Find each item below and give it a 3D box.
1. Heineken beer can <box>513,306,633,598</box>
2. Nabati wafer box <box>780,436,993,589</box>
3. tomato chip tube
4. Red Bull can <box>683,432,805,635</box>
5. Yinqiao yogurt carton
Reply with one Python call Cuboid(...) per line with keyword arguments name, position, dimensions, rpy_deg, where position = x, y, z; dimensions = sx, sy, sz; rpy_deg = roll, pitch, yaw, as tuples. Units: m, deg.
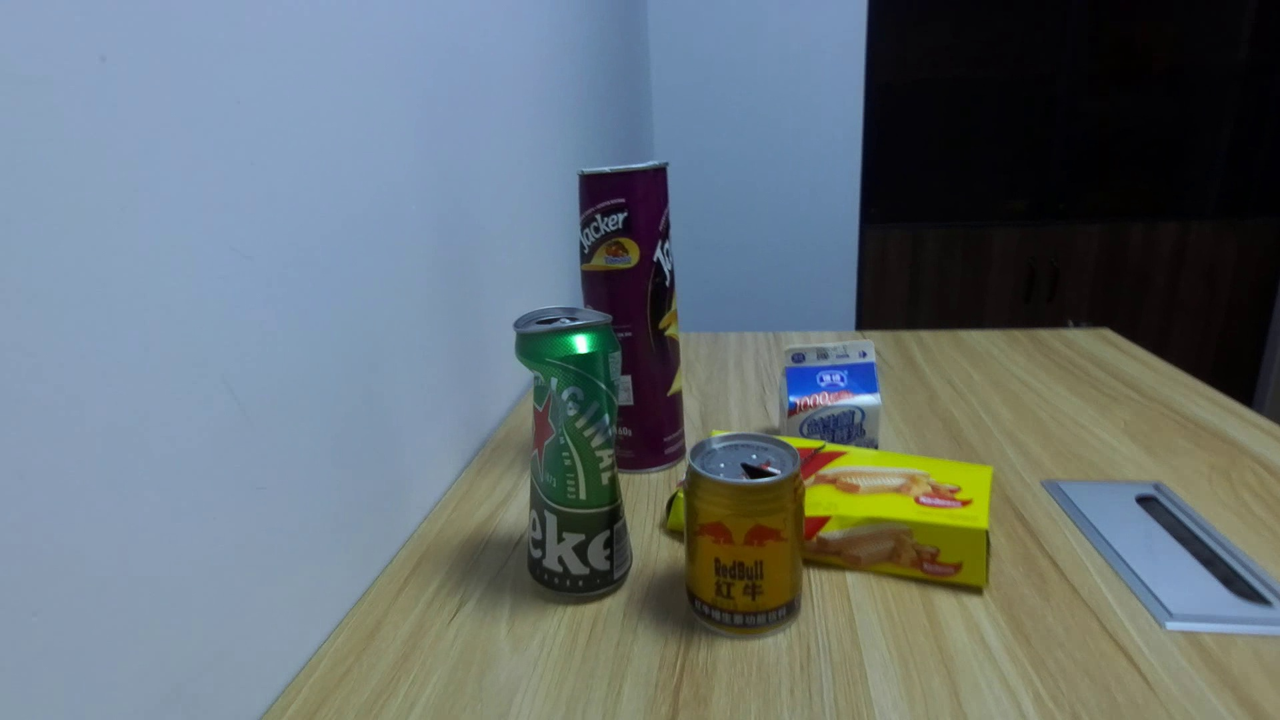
Cuboid(name="Heineken beer can", position=(-0.039, 0.056, 0.414), dimensions=(0.066, 0.164, 0.078), rpy_deg=(2, 15, 15))
Cuboid(name="Nabati wafer box", position=(0.120, 0.094, 0.470), dimensions=(0.203, 0.042, 0.107), rpy_deg=(4, 19, 24))
Cuboid(name="tomato chip tube", position=(-0.005, -0.033, 0.562), dimensions=(0.078, 0.235, 0.076), rpy_deg=(-7, 18, -9))
Cuboid(name="Red Bull can", position=(0.058, 0.094, 0.390), dimensions=(0.067, 0.093, 0.067), rpy_deg=(-1, 19, 1))
Cuboid(name="Yinqiao yogurt carton", position=(0.152, 0.029, 0.573), dimensions=(0.075, 0.092, 0.074), rpy_deg=(-3, 18, 7))
